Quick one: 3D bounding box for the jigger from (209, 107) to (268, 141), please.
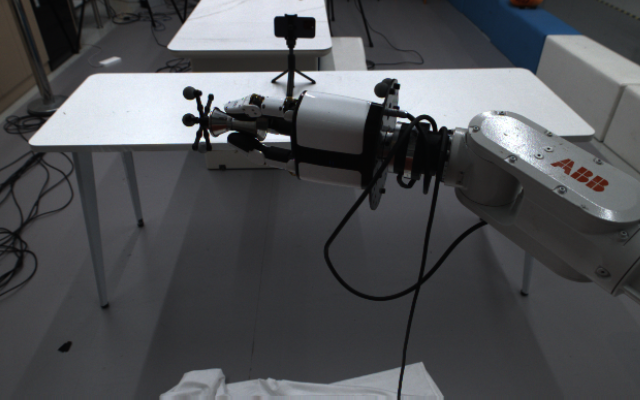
[{"bbox_3d":[-0.105,-0.106,0.645,0.071,0.043,0.043,4,34,12],"label":"jigger"}]
